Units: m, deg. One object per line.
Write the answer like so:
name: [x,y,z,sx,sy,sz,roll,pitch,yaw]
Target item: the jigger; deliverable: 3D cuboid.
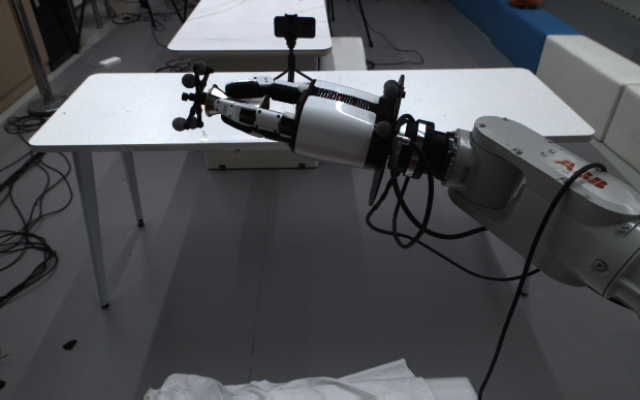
jigger: [-0.095,-0.116,0.592,0.071,0.043,0.043,14,36,4]
